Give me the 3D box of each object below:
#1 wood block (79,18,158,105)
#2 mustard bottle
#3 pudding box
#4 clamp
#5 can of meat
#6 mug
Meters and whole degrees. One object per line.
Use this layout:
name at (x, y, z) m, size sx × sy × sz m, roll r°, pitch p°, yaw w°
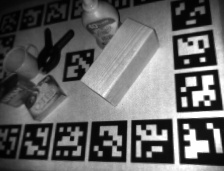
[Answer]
wood block at (0.021, -0.066, 0.571) m, size 0.089 × 0.092 × 0.206 m, roll 33°, pitch 84°, yaw 29°
mustard bottle at (-0.036, -0.176, 0.567) m, size 0.095 × 0.194 × 0.058 m, roll -12°, pitch 69°, yaw 18°
pudding box at (-0.207, 0.031, 0.649) m, size 0.114 × 0.039 × 0.089 m, roll -43°, pitch 64°, yaw 1°
clamp at (-0.206, -0.127, 0.709) m, size 0.120 × 0.037 × 0.165 m, roll 14°, pitch 80°, yaw 23°
can of meat at (-0.308, 0.012, 0.662) m, size 0.101 × 0.085 × 0.057 m, roll -35°, pitch 64°, yaw 7°
mug at (-0.286, -0.082, 0.718) m, size 0.092 × 0.082 × 0.117 m, roll 17°, pitch 81°, yaw 25°
